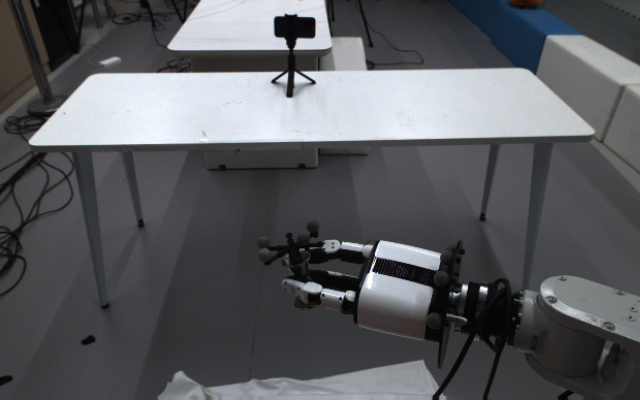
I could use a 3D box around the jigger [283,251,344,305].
[{"bbox_3d":[-0.022,0.107,0.653,0.043,0.071,0.043,-14,21,6],"label":"jigger"}]
